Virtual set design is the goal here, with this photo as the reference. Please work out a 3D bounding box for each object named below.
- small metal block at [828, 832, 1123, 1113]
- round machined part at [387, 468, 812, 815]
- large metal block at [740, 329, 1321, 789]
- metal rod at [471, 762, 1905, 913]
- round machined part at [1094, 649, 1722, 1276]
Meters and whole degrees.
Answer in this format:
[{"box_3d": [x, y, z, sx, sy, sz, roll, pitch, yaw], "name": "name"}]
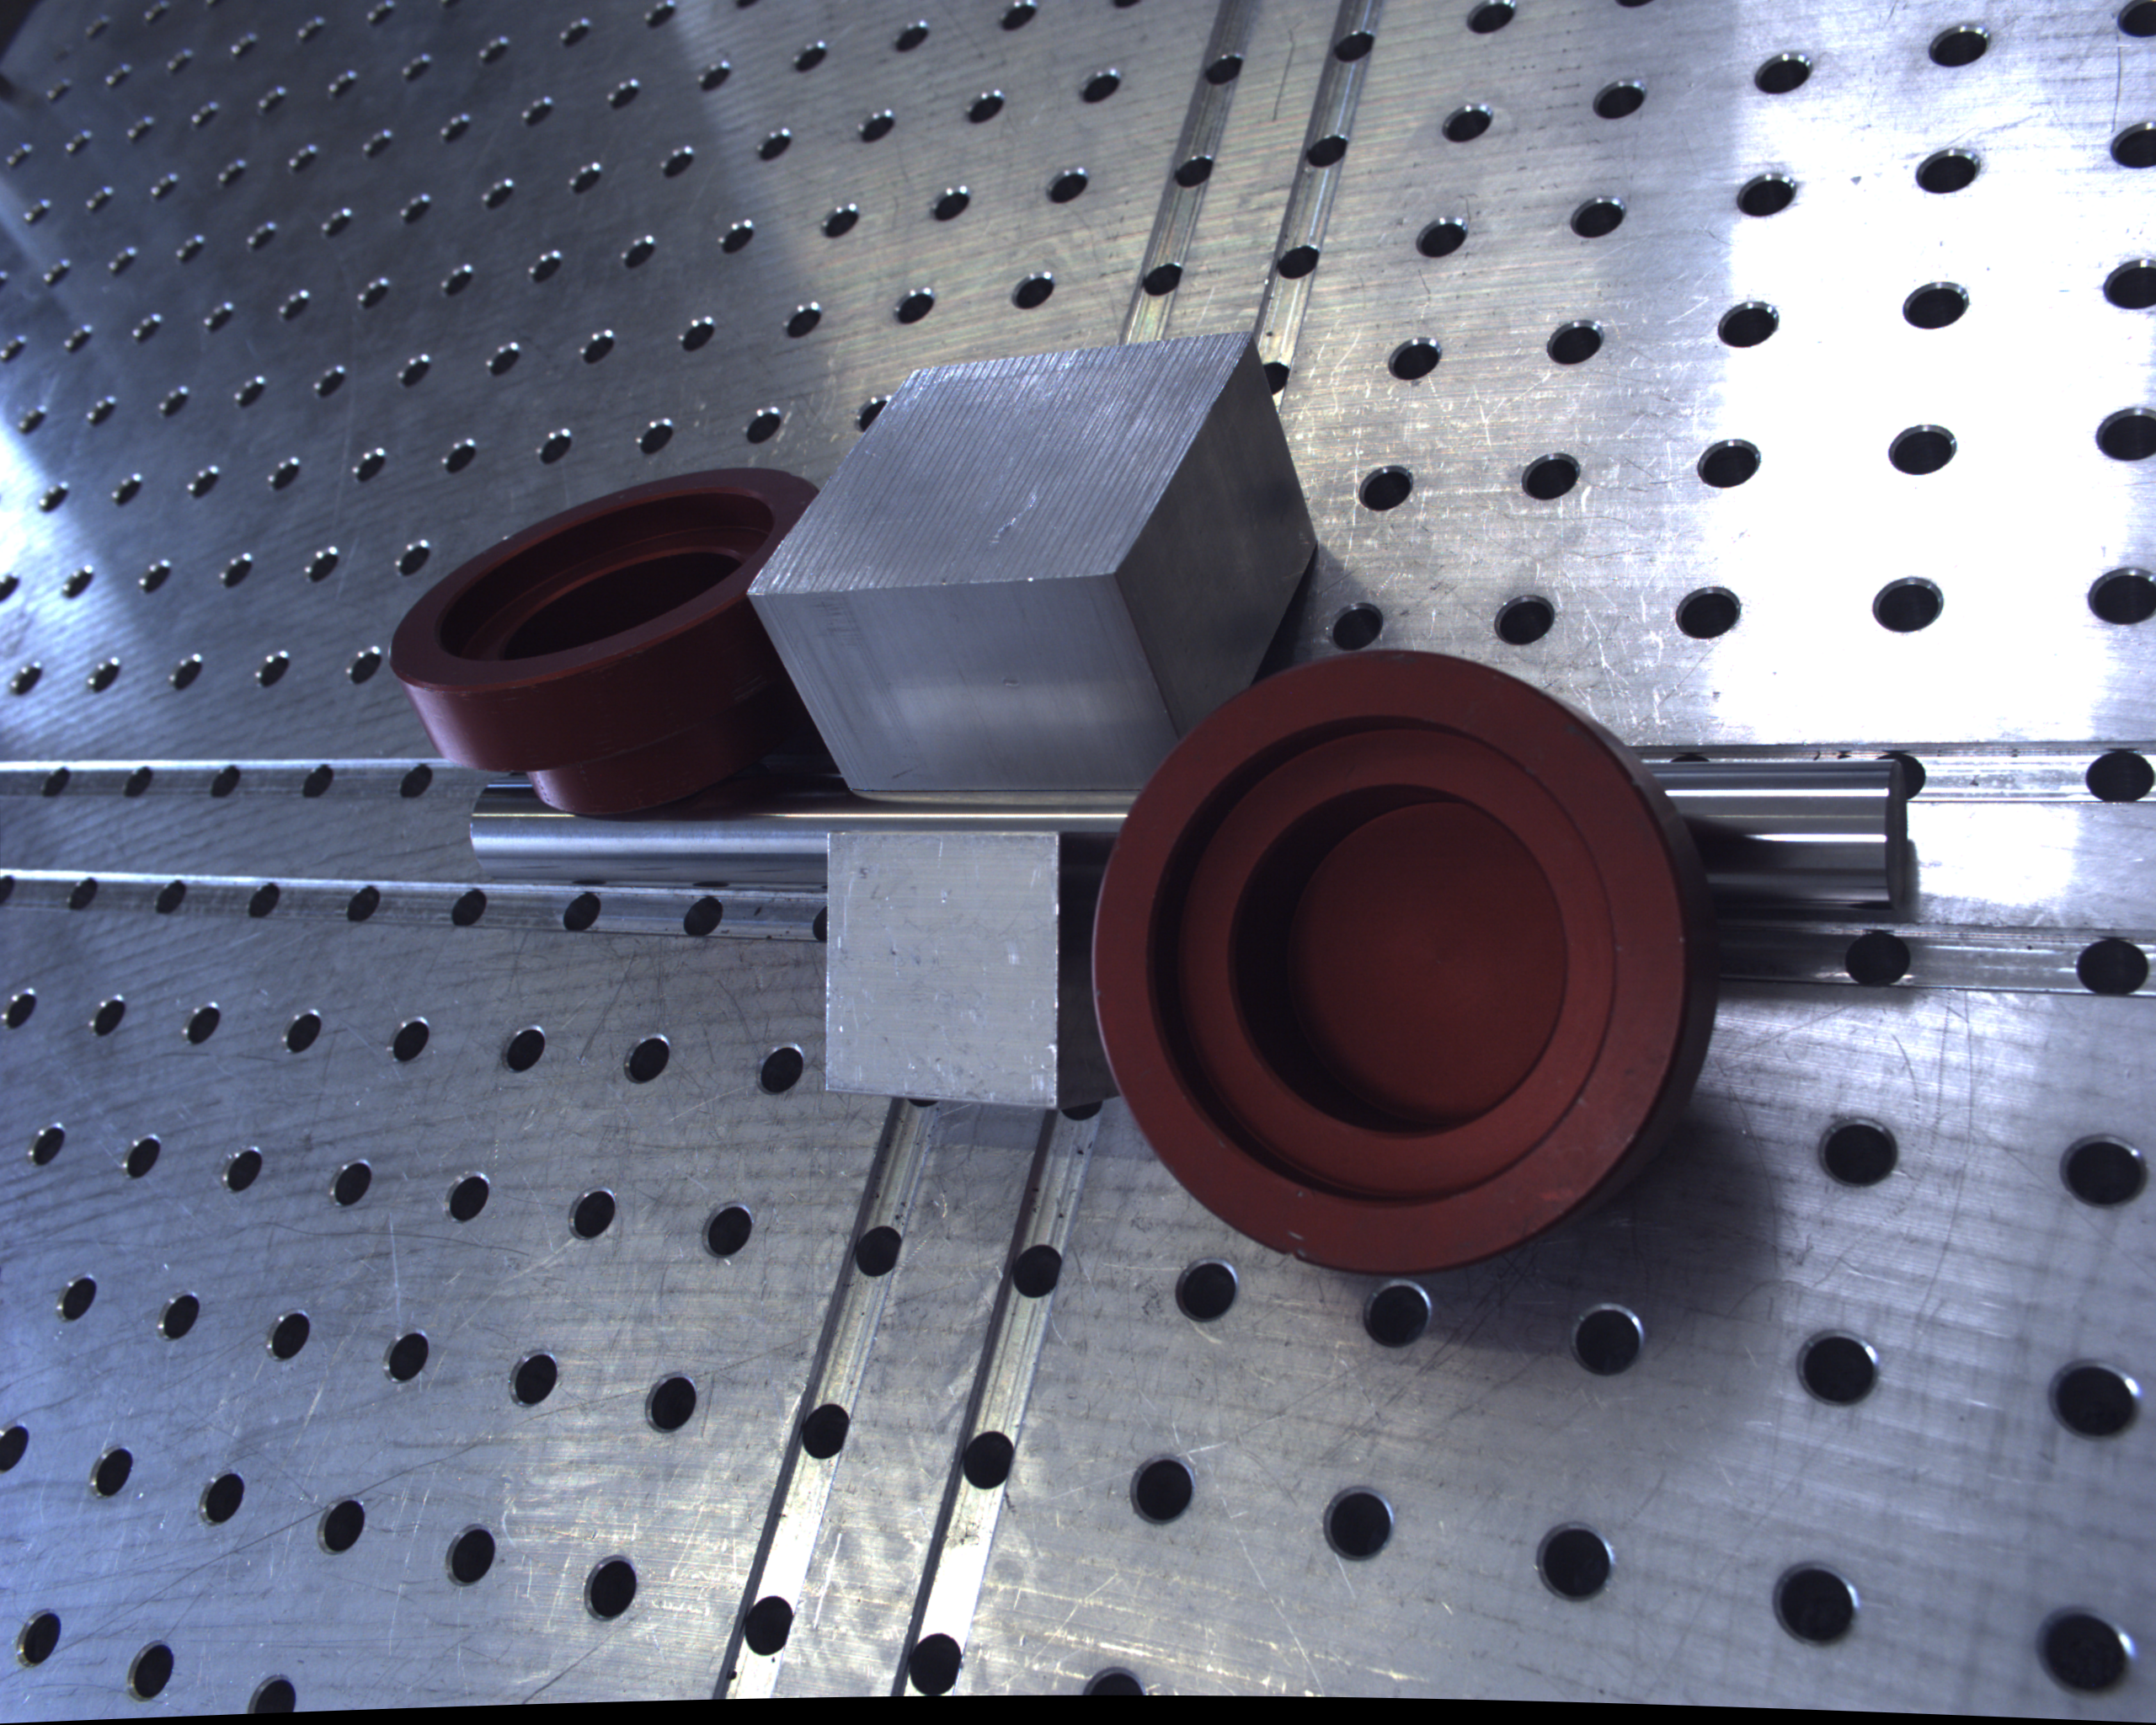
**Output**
[{"box_3d": [-0.019, 0.019, 0.394, 0.050, 0.025, 0.050, 1, 91, 28], "name": "small metal block"}, {"box_3d": [-0.096, -0.046, 0.460, 0.098, 0.042, 0.098, -13, 32, 8], "name": "round machined part"}, {"box_3d": [-0.006, -0.060, 0.418, 0.080, 0.050, 0.080, 1, 44, 28], "name": "large metal block"}, {"box_3d": [0.001, -0.006, 0.412, 0.300, 0.025, 0.025, 1, 62, 28], "name": "metal rod"}, {"box_3d": [0.056, 0.016, 0.342, 0.098, 0.042, 0.097, -2, 86, 28], "name": "round machined part"}]
